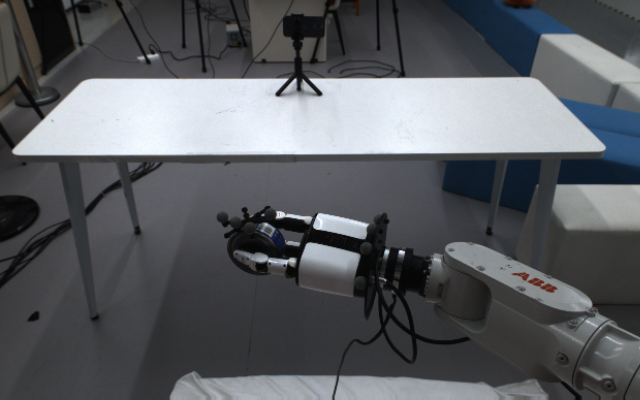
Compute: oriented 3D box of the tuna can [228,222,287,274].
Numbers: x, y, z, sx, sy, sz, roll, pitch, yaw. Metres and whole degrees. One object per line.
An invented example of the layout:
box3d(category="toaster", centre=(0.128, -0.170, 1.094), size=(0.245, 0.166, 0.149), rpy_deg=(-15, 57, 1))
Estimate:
box3d(category="tuna can", centre=(-0.090, 0.074, 0.744), size=(0.085, 0.085, 0.034), rpy_deg=(10, 33, 11))
